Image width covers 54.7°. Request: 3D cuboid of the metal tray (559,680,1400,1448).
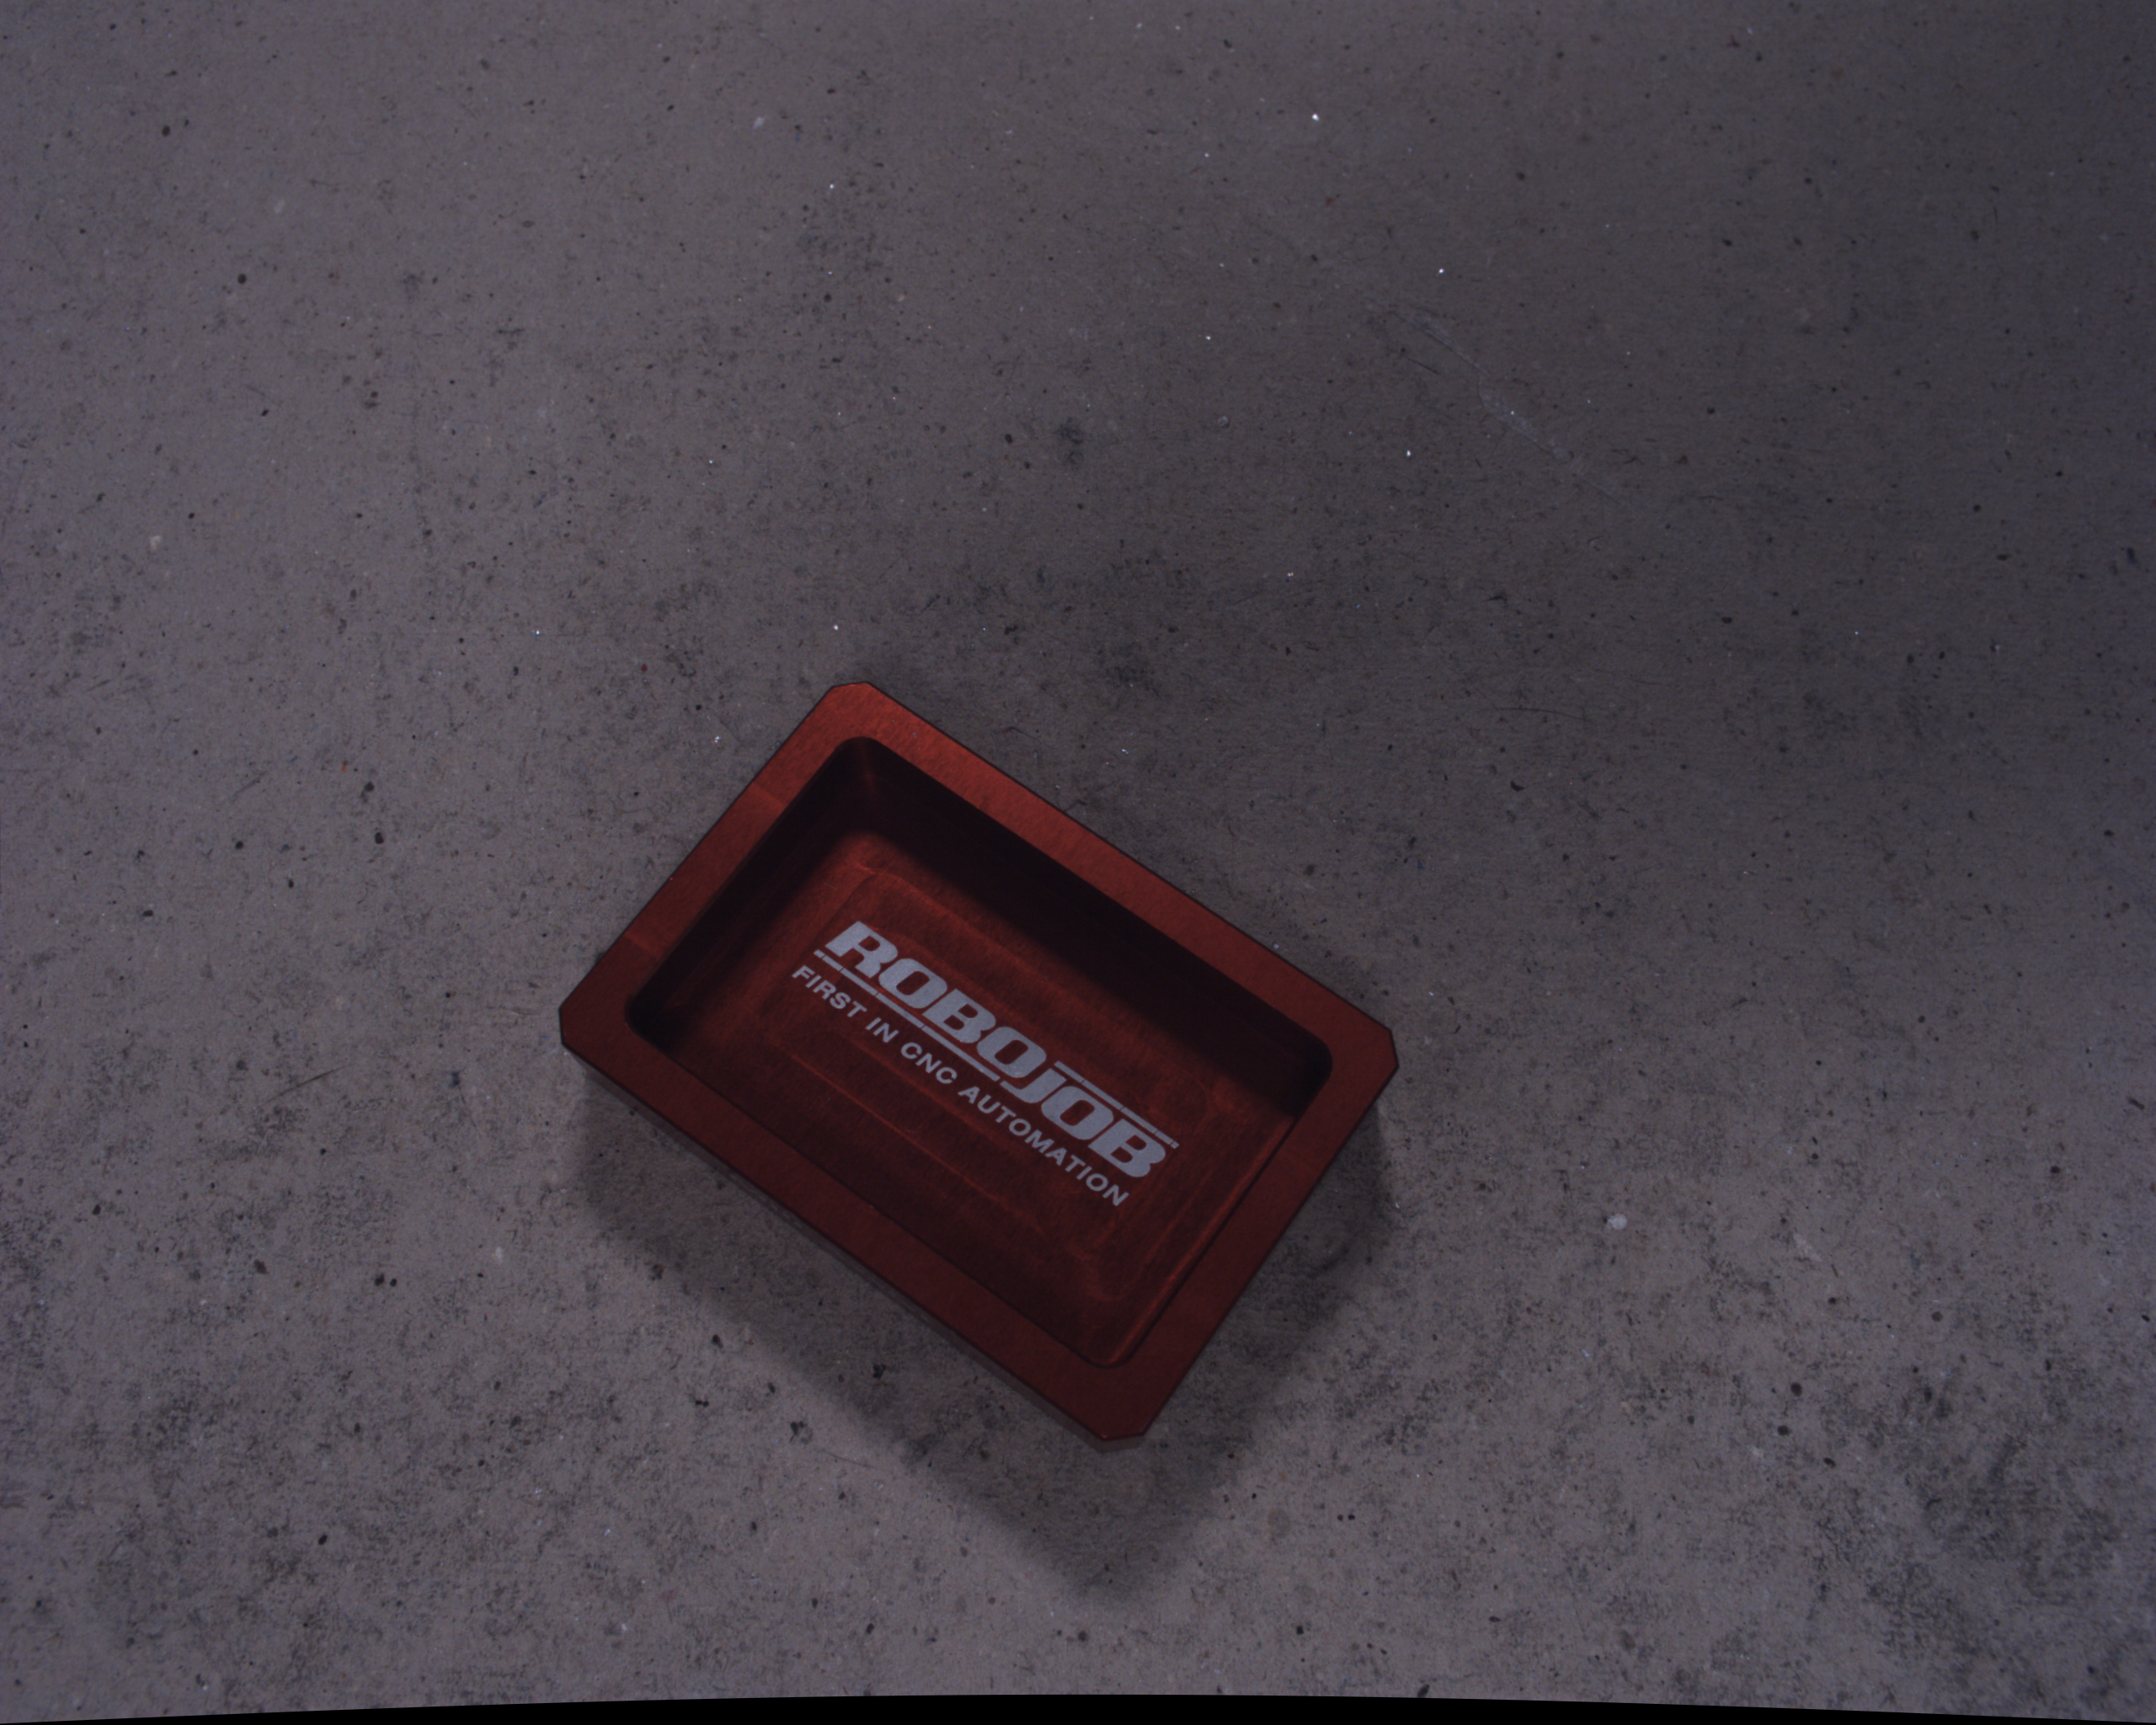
[{"bbox_3d":[-0.018,0.036,0.393,0.130,0.030,0.090,34,73,11],"label":"metal tray"}]
